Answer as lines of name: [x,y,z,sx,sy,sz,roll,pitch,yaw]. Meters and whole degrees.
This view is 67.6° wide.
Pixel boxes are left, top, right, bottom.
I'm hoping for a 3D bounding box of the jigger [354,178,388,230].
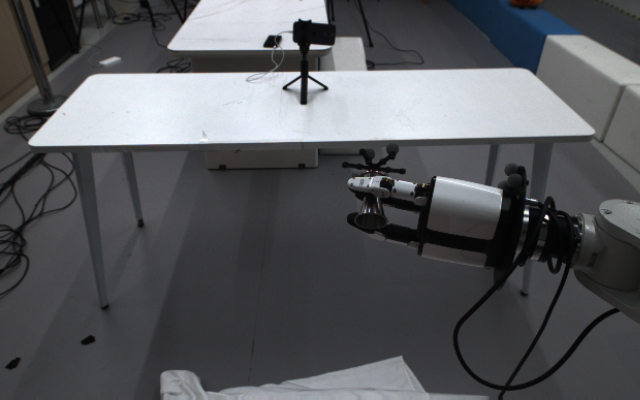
jigger: [0.067,-0.002,0.654,0.043,0.043,0.071,5,60,4]
